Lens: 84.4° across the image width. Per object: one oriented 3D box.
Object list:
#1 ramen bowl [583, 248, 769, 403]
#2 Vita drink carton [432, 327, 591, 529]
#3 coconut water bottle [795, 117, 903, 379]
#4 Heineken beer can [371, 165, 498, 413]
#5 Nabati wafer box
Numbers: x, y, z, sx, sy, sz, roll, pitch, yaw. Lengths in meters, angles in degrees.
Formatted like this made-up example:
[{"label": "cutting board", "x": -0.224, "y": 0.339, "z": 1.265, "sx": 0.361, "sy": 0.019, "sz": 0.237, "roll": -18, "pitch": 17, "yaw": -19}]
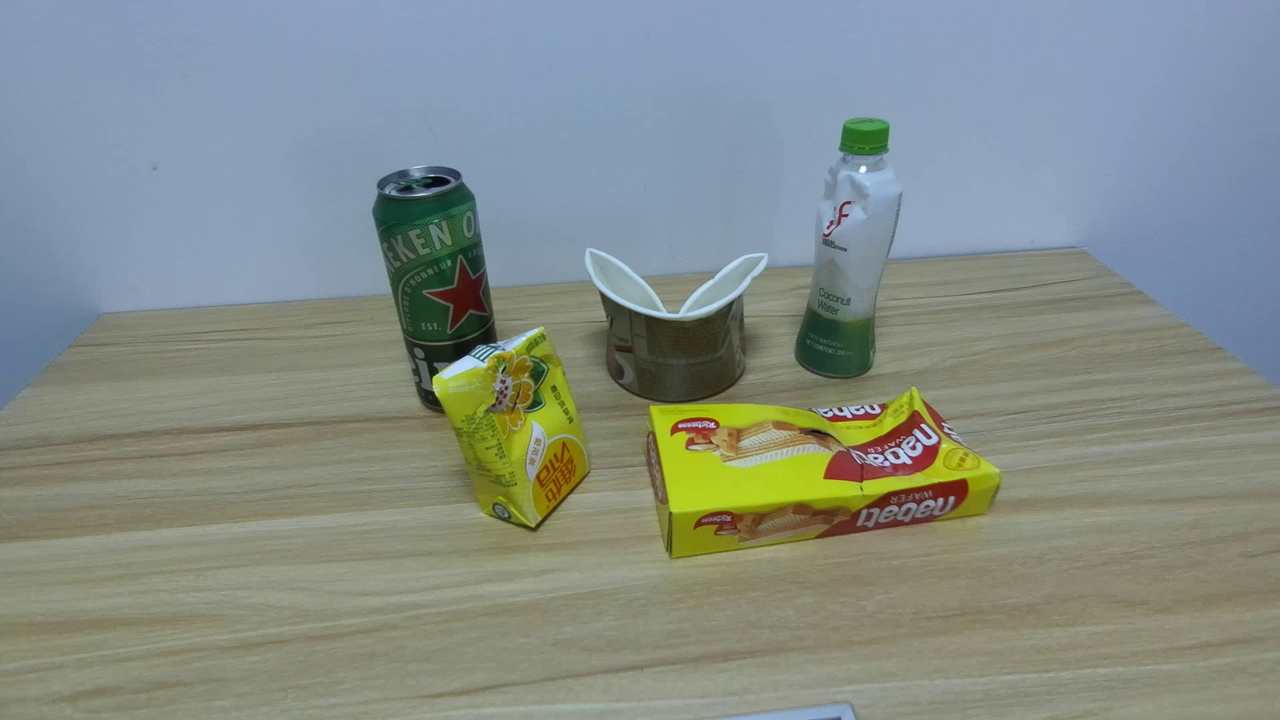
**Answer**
[{"label": "ramen bowl", "x": 0.023, "y": -0.032, "z": 0.537, "sx": 0.137, "sy": 0.098, "sz": 0.137, "roll": -3, "pitch": 34, "yaw": 2}, {"label": "Vita drink carton", "x": -0.077, "y": 0.039, "z": 0.433, "sx": 0.042, "sy": 0.108, "sz": 0.087, "roll": 5, "pitch": 29, "yaw": 34}, {"label": "coconut water bottle", "x": 0.154, "y": -0.080, "z": 0.518, "sx": 0.069, "sy": 0.186, "sz": 0.069, "roll": -2, "pitch": 32, "yaw": 1}, {"label": "Heineken beer can", "x": -0.140, "y": -0.045, "z": 0.503, "sx": 0.067, "sy": 0.169, "sz": 0.067, "roll": -1, "pitch": 33, "yaw": 1}, {"label": "Nabati wafer box", "x": 0.111, "y": 0.061, "z": 0.448, "sx": 0.204, "sy": 0.042, "sz": 0.106, "roll": -4, "pitch": 36, "yaw": -7}]
